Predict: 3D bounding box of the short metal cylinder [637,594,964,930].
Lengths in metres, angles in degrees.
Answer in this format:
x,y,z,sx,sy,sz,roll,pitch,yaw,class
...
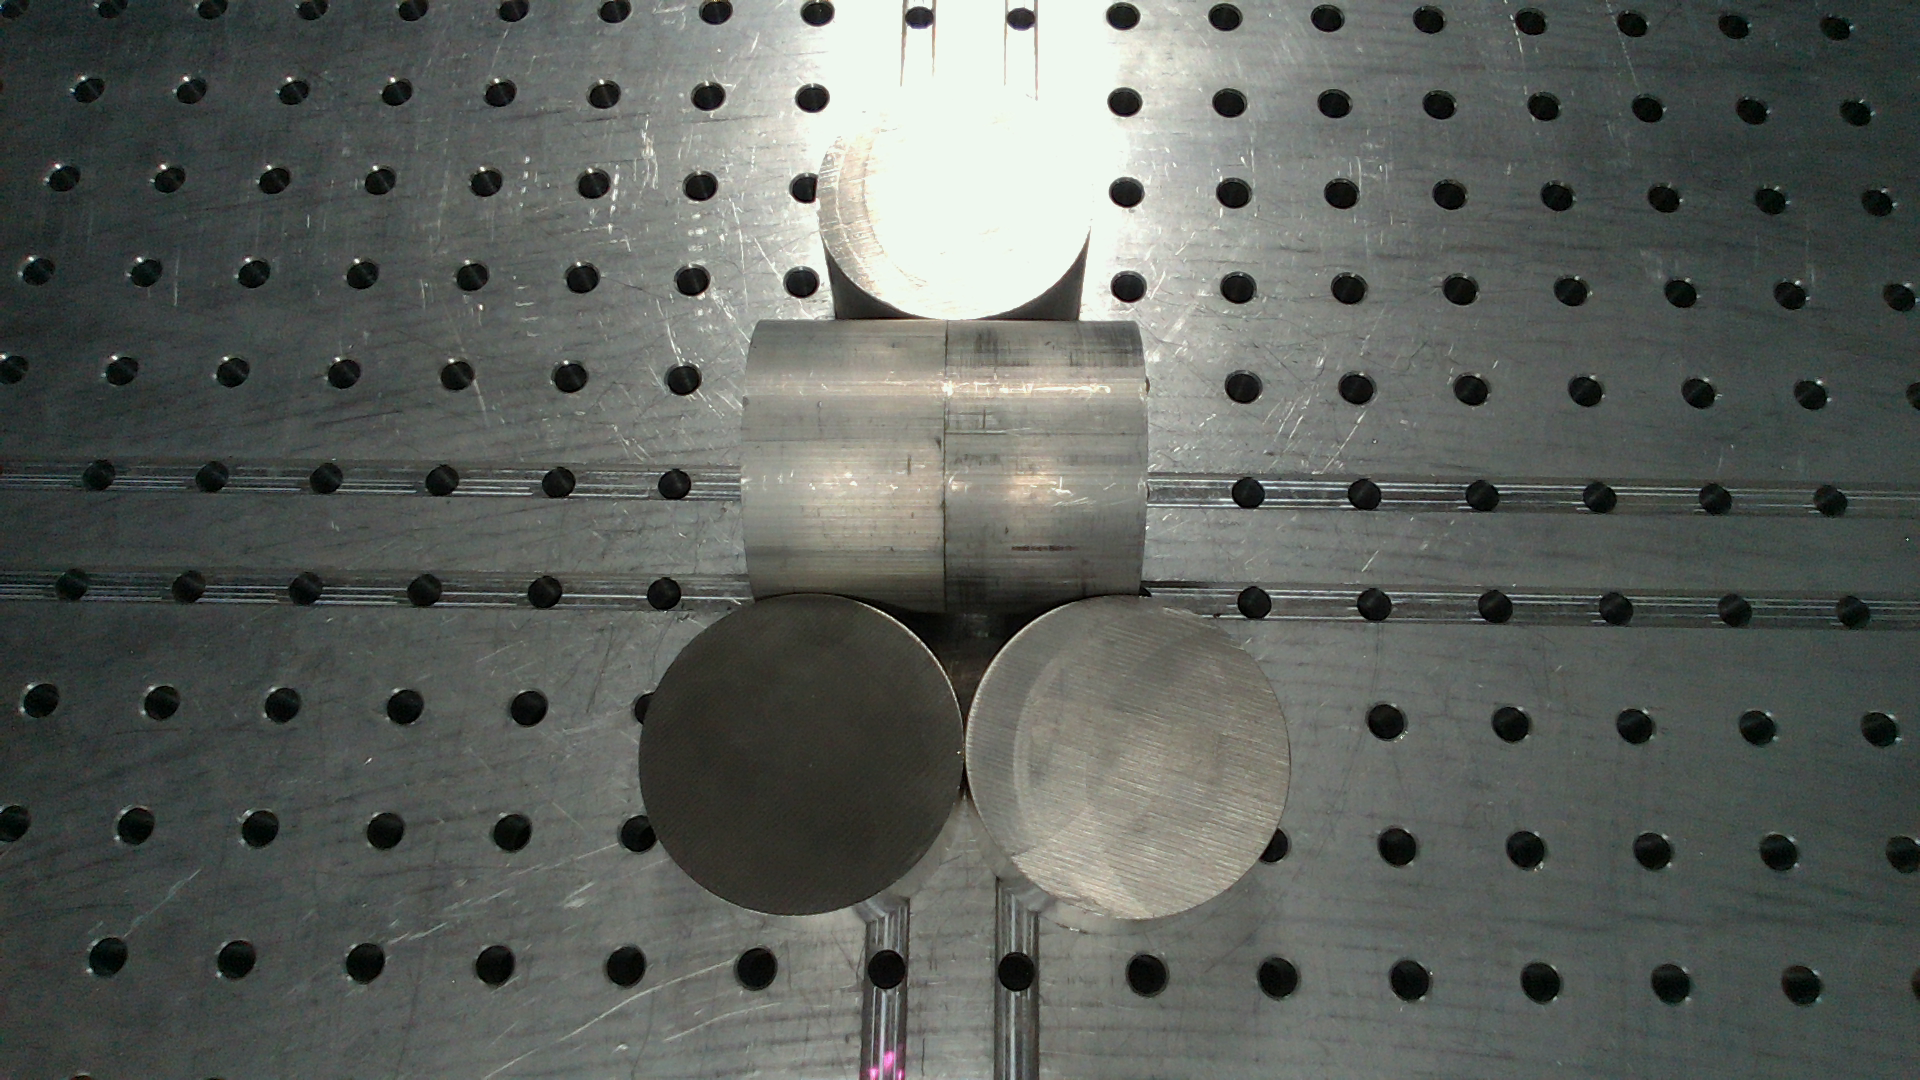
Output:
x,y,z,sx,sy,sz,roll,pitch,yaw,class
-0.039,0.060,0.361,0.080,0.050,0.080,0,70,0,short metal cylinder

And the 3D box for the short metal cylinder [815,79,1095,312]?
x,y,z,sx,sy,sz,roll,pitch,yaw,class
-0.001,-0.090,0.416,0.080,0.050,0.080,0,70,0,short metal cylinder

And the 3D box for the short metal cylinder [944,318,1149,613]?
x,y,z,sx,sy,sz,roll,pitch,yaw,class
0.021,-0.020,0.376,0.050,0.080,0.080,0,70,0,short metal cylinder

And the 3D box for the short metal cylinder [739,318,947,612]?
x,y,z,sx,sy,sz,roll,pitch,yaw,class
-0.029,-0.020,0.375,0.050,0.080,0.080,0,70,0,short metal cylinder

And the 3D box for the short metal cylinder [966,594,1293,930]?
x,y,z,sx,sy,sz,roll,pitch,yaw,class
0.042,0.060,0.360,0.080,0.050,0.080,0,70,0,short metal cylinder
